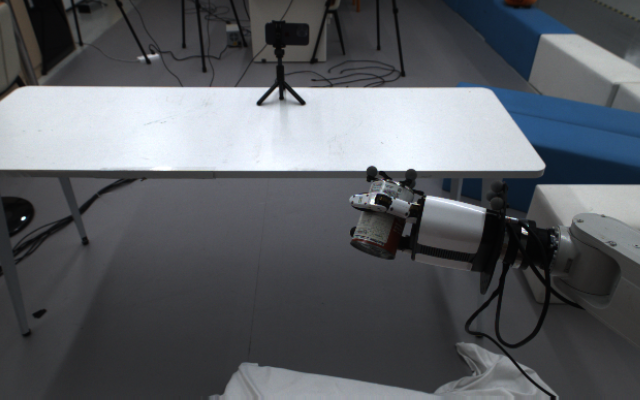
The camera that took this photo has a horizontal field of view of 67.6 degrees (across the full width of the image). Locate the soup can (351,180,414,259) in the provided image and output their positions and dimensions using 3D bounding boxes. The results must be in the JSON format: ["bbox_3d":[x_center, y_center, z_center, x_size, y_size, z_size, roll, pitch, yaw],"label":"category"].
[{"bbox_3d":[0.093,0.028,0.709,0.067,0.067,0.101,15,74,18],"label":"soup can"}]
